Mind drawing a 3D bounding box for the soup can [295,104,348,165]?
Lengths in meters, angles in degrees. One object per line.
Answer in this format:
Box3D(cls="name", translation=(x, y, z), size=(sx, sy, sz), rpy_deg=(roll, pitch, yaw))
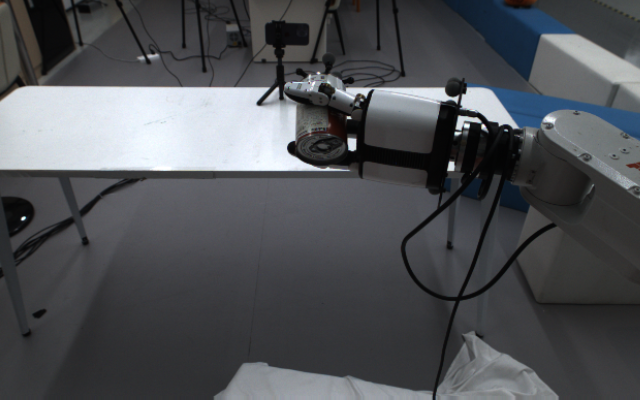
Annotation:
Box3D(cls="soup can", translation=(0.002, -0.105, 0.626), size=(0.067, 0.067, 0.101), rpy_deg=(1, 61, -1))
